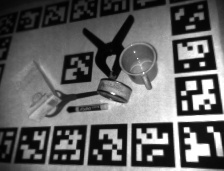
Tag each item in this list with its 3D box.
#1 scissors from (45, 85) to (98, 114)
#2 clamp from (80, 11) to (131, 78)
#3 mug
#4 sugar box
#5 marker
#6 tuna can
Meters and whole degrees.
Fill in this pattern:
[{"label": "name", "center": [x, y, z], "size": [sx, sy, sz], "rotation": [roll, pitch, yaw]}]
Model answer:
[{"label": "scissors", "center": [-0.124, 0.024, 0.625], "size": [0.202, 0.016, 0.087], "rotation": [-15, 63, 11]}, {"label": "clamp", "center": [-0.009, -0.113, 0.641], "size": [0.164, 0.037, 0.202], "rotation": [-15, 68, 13]}, {"label": "mug", "center": [0.065, -0.045, 0.559], "size": [0.093, 0.082, 0.116], "rotation": [-30, 61, 6]}, {"label": "sugar box", "center": [-0.230, 0.007, 0.649], "size": [0.093, 0.046, 0.174], "rotation": [-39, 58, 2]}, {"label": "marker", "center": [-0.082, 0.060, 0.601], "size": [0.120, 0.020, 0.019], "rotation": [-9, 69, 16]}, {"label": "tuna can", "center": [0.005, 0.009, 0.554], "size": [0.085, 0.087, 0.034], "rotation": [12, 75, 23]}]
